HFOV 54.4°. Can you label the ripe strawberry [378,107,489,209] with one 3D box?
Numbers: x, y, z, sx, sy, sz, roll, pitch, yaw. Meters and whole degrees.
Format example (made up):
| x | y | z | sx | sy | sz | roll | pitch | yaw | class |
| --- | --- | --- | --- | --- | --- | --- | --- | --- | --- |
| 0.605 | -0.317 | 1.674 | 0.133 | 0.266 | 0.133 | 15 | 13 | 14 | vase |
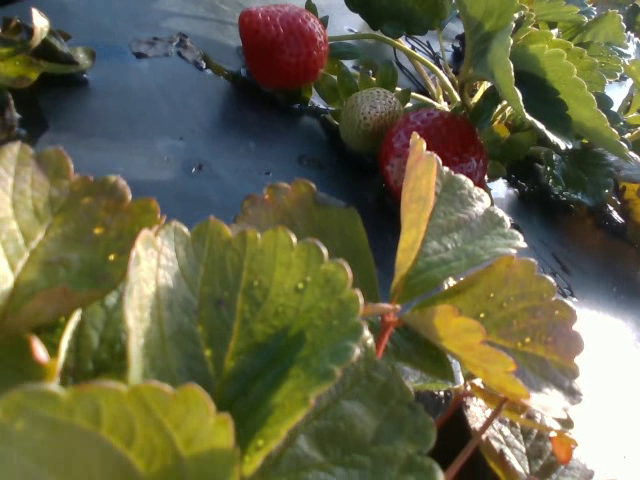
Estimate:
| x | y | z | sx | sy | sz | roll | pitch | yaw | class |
| --- | --- | --- | --- | --- | --- | --- | --- | --- | --- |
| 0.041 | -0.030 | 0.247 | 0.048 | 0.050 | 0.064 | -2 | 25 | 38 | ripe strawberry |
